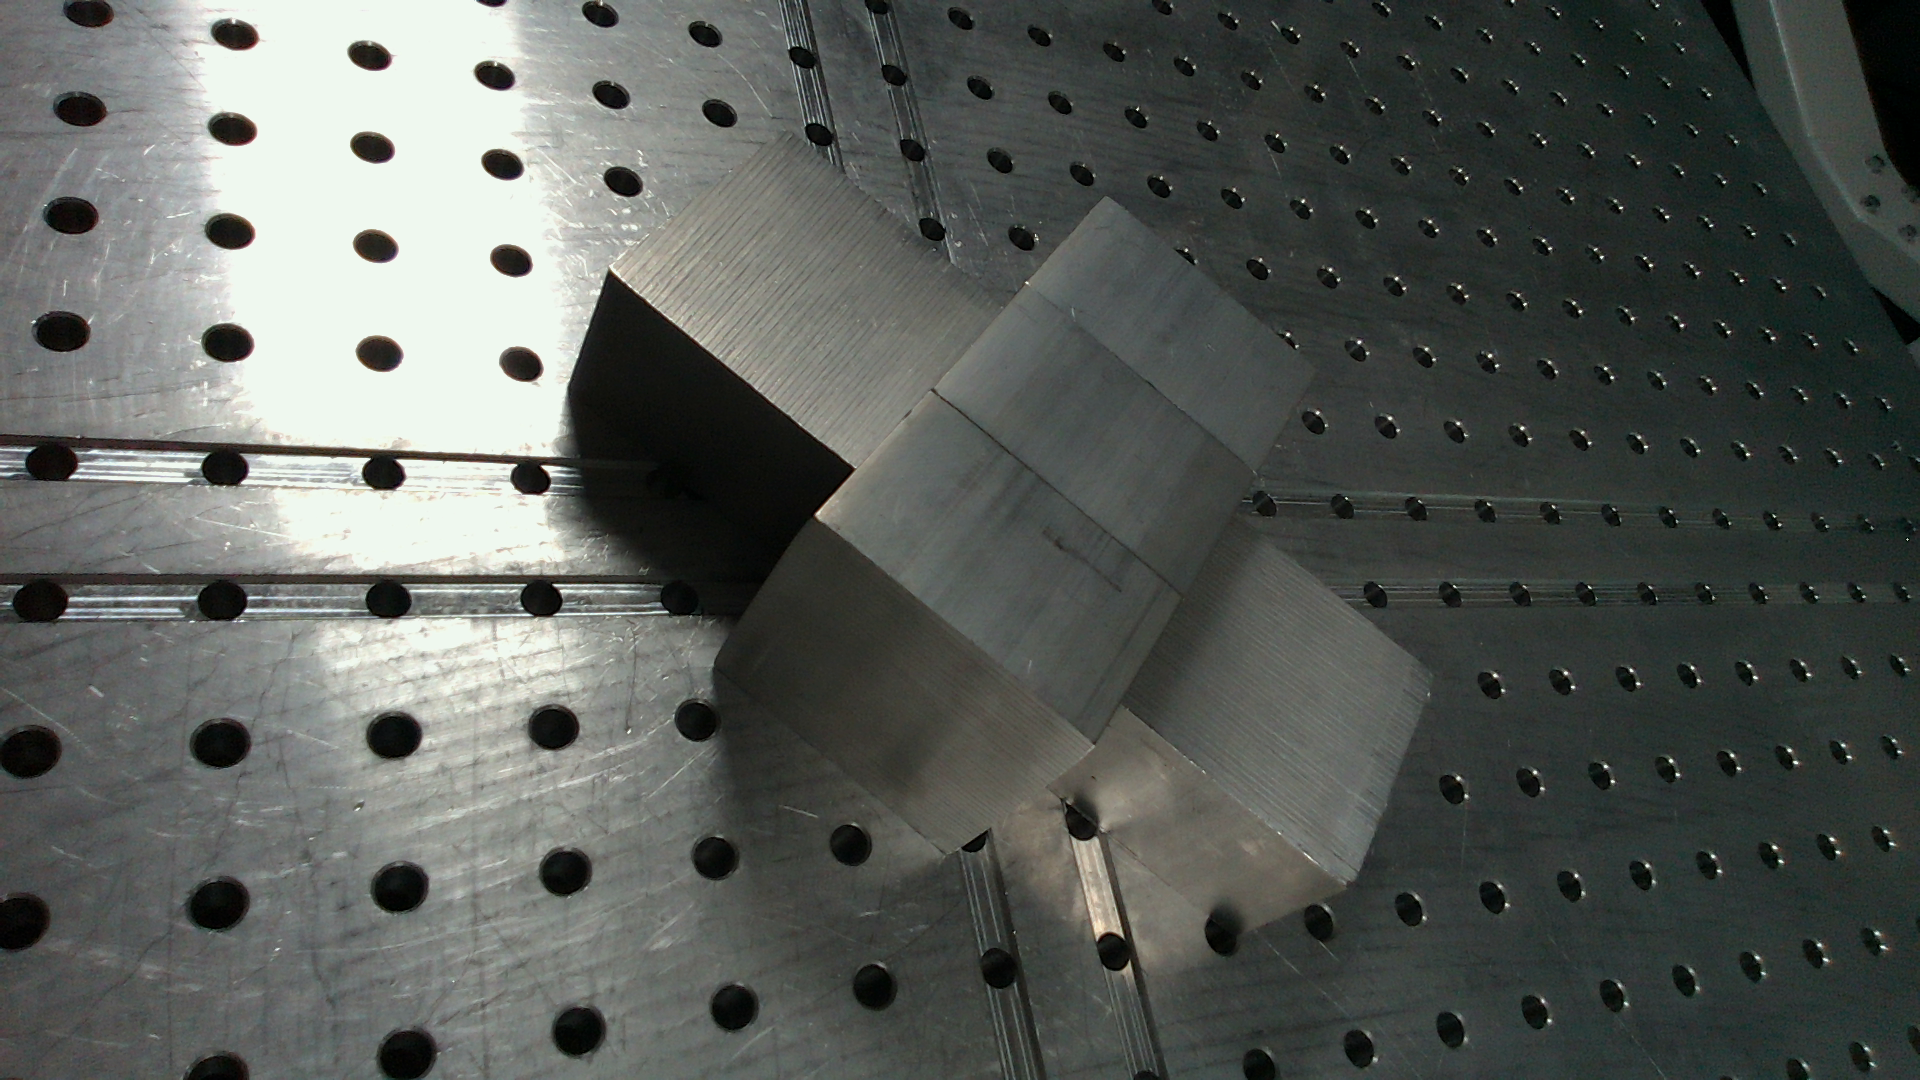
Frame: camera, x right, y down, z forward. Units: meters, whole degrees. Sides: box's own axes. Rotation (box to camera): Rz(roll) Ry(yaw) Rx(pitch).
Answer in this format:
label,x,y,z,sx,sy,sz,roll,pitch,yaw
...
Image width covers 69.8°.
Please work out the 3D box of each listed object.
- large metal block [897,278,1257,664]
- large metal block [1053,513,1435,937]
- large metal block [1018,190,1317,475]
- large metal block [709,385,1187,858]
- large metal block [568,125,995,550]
label,x,y,z,sx,sy,sz,roll,pitch,yaw
large metal block,0.018,-0.008,0.373,0.080,0.080,0.050,39,51,-2
large metal block,0.075,0.049,0.387,0.080,0.050,0.080,39,52,-1
large metal block,0.042,-0.039,0.405,0.080,0.080,0.050,39,51,-2
large metal block,-0.005,0.023,0.341,0.080,0.080,0.050,39,51,-2
large metal block,-0.047,-0.055,0.382,0.080,0.050,0.080,38,52,-2
